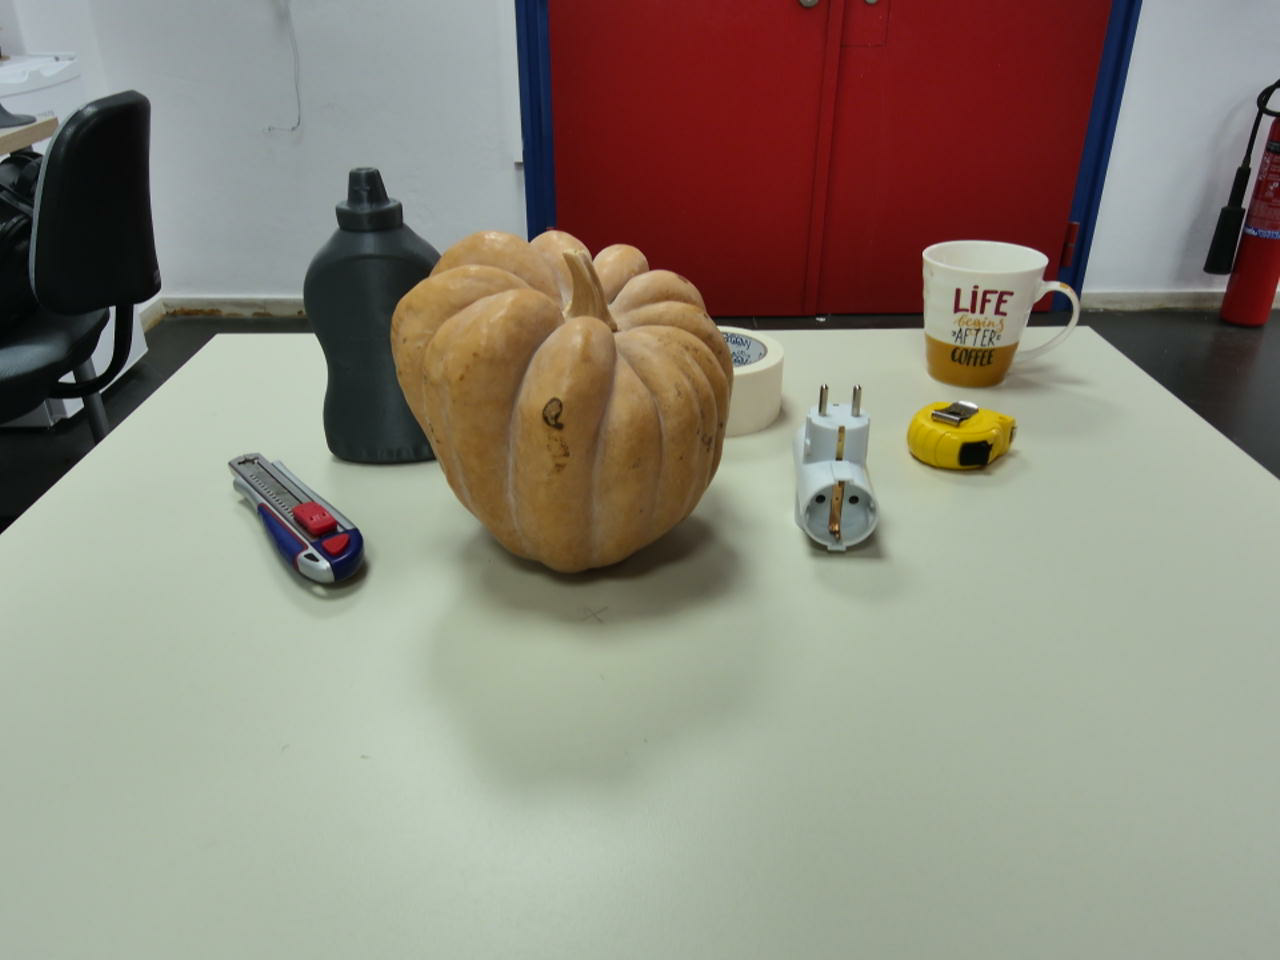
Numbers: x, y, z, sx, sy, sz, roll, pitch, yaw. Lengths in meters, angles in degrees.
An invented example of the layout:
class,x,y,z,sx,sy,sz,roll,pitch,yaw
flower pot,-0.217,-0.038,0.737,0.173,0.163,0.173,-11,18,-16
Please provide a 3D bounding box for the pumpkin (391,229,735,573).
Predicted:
class,x,y,z,sx,sy,sz,roll,pitch,yaw
pumpkin,-0.040,-0.046,0.564,0.199,0.177,0.198,0,26,0
